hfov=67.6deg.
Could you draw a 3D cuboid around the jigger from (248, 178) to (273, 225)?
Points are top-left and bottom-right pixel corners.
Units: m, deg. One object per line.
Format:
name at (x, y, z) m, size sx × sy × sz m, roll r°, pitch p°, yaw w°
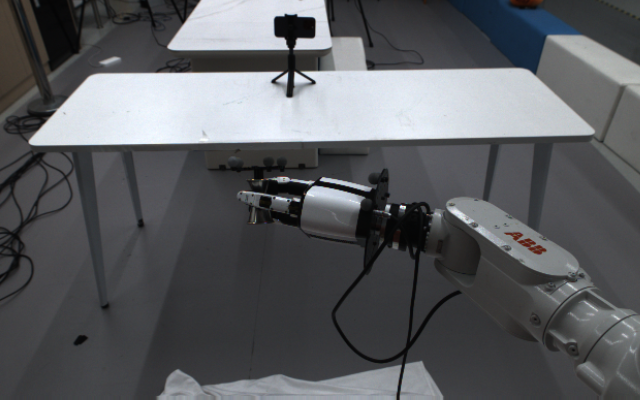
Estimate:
jigger at (-0.094, 0.002, 0.751) m, size 0.043 × 0.071 × 0.043 m, roll -2°, pitch 3°, yaw 0°
